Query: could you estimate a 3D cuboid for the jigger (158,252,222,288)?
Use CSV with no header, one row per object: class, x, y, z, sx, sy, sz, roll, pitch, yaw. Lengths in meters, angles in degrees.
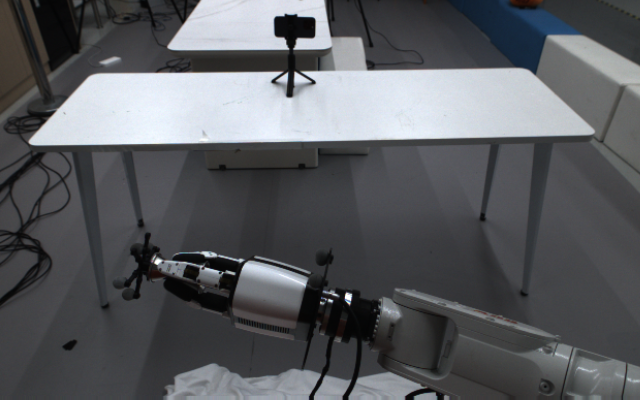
jigger,-0.177,0.092,0.636,0.071,0.043,0.043,10,35,2
